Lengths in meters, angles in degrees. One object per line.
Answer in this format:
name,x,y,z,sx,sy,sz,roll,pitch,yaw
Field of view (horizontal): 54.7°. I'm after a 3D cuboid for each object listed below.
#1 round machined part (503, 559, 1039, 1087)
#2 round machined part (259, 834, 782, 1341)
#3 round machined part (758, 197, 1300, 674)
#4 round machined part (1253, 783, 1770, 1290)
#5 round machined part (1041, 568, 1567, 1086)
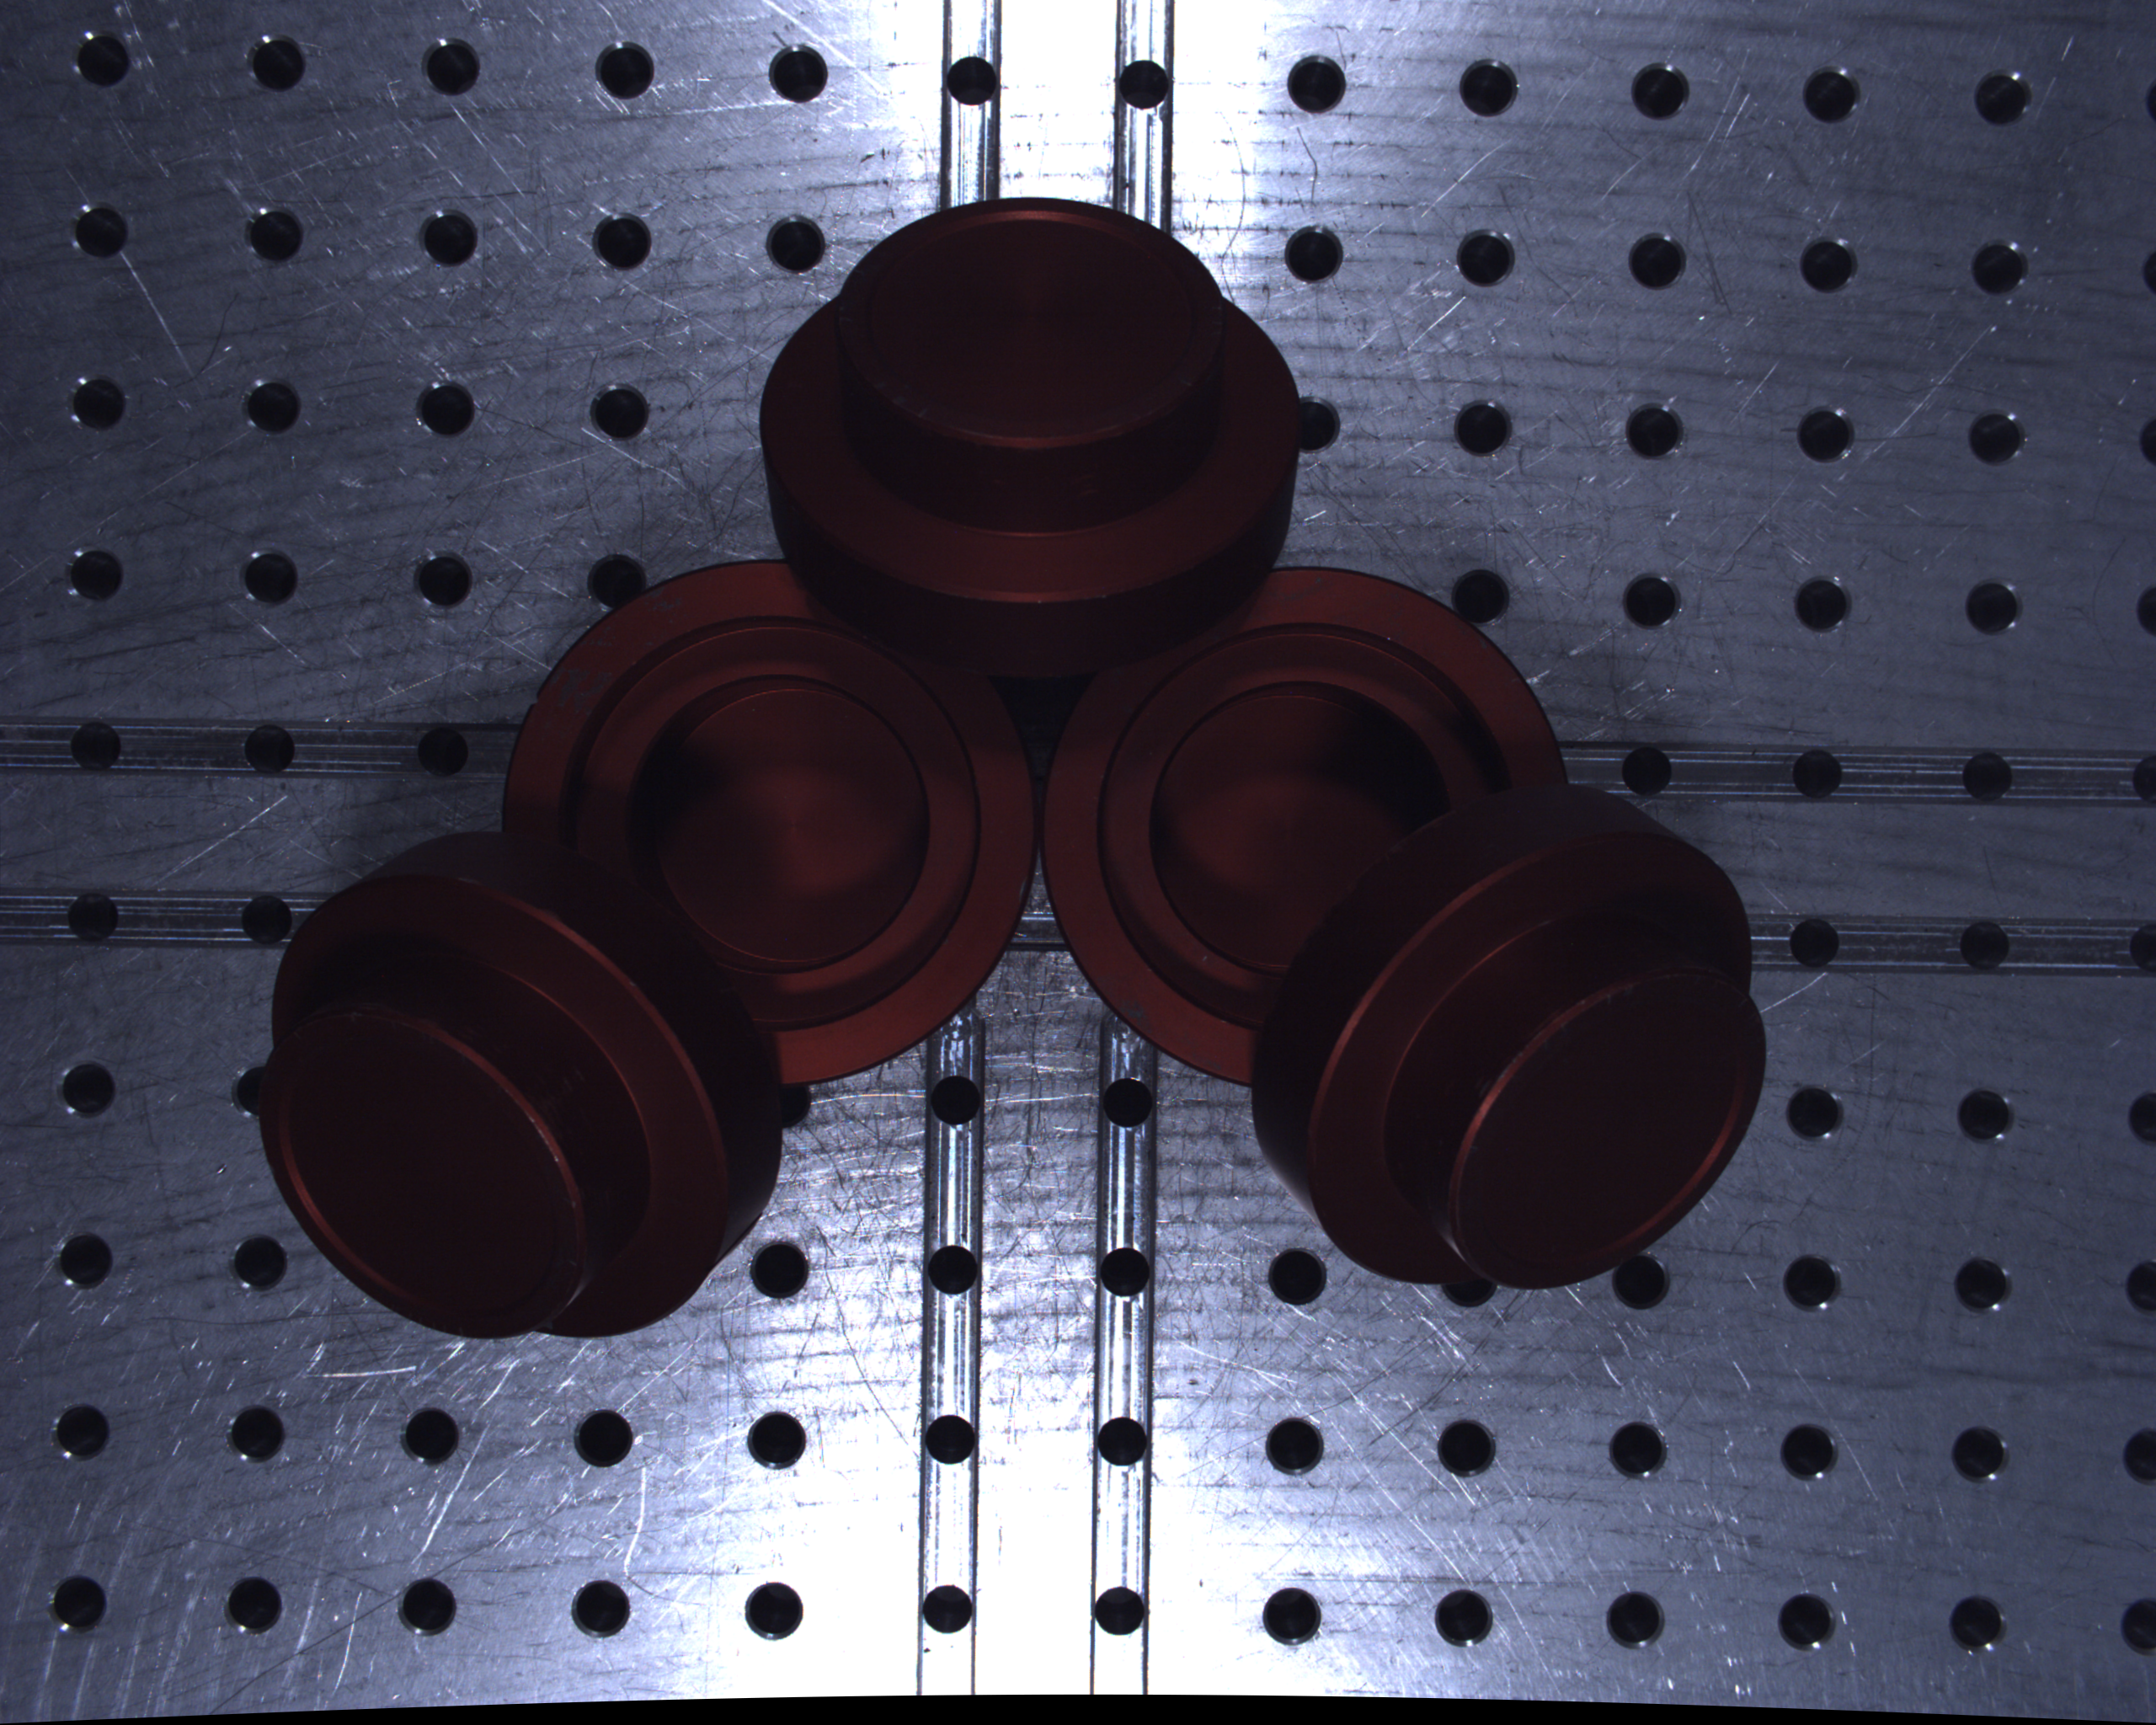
round machined part,-0.057,-0.007,0.403,0.099,0.042,0.097,0,90,-1
round machined part,-0.107,0.047,0.380,0.098,0.042,0.097,10,119,20
round machined part,-0.009,-0.084,0.379,0.099,0.042,0.098,1,52,0
round machined part,0.085,0.038,0.379,0.099,0.042,0.097,-13,123,-22
round machined part,0.042,-0.006,0.405,0.099,0.042,0.097,0,90,-1
